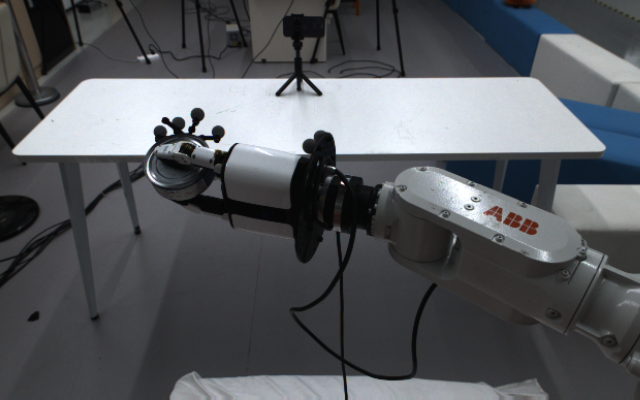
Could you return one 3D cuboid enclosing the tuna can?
[{"bbox_3d":[-0.176,-0.041,0.625,0.085,0.034,0.085,-1,57,2],"label":"tuna can"}]
